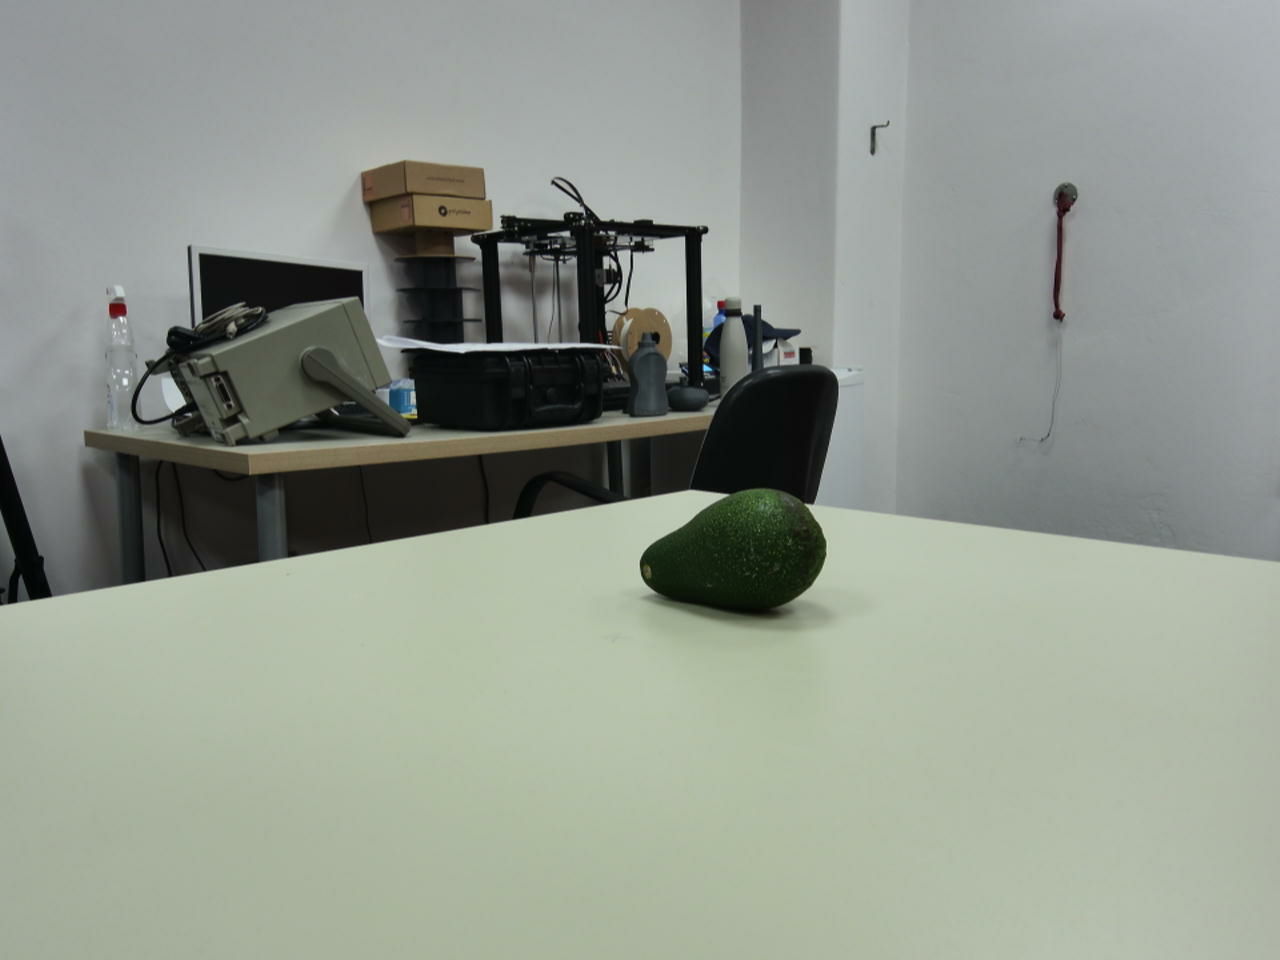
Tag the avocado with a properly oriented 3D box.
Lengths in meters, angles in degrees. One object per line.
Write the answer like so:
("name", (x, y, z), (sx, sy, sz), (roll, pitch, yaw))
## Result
("avocado", (0.063, 0.042, 0.627), (0.074, 0.076, 0.123), (-4, 8, -37))
